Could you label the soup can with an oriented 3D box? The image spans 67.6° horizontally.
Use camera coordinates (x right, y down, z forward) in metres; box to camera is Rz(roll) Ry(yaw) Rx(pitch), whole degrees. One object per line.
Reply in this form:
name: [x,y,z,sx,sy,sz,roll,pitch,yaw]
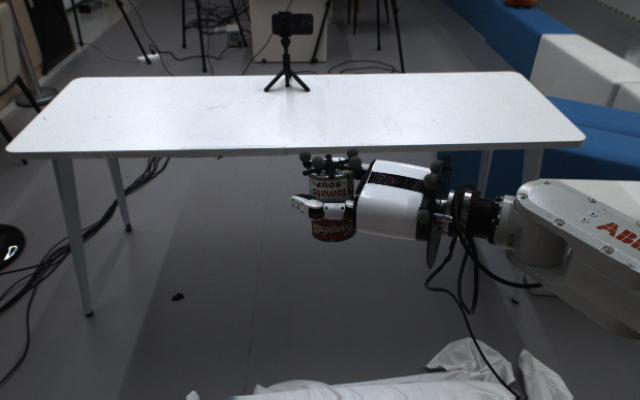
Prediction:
soup can: [0.019,0.001,0.709,0.067,0.101,0.067,-4,26,2]
